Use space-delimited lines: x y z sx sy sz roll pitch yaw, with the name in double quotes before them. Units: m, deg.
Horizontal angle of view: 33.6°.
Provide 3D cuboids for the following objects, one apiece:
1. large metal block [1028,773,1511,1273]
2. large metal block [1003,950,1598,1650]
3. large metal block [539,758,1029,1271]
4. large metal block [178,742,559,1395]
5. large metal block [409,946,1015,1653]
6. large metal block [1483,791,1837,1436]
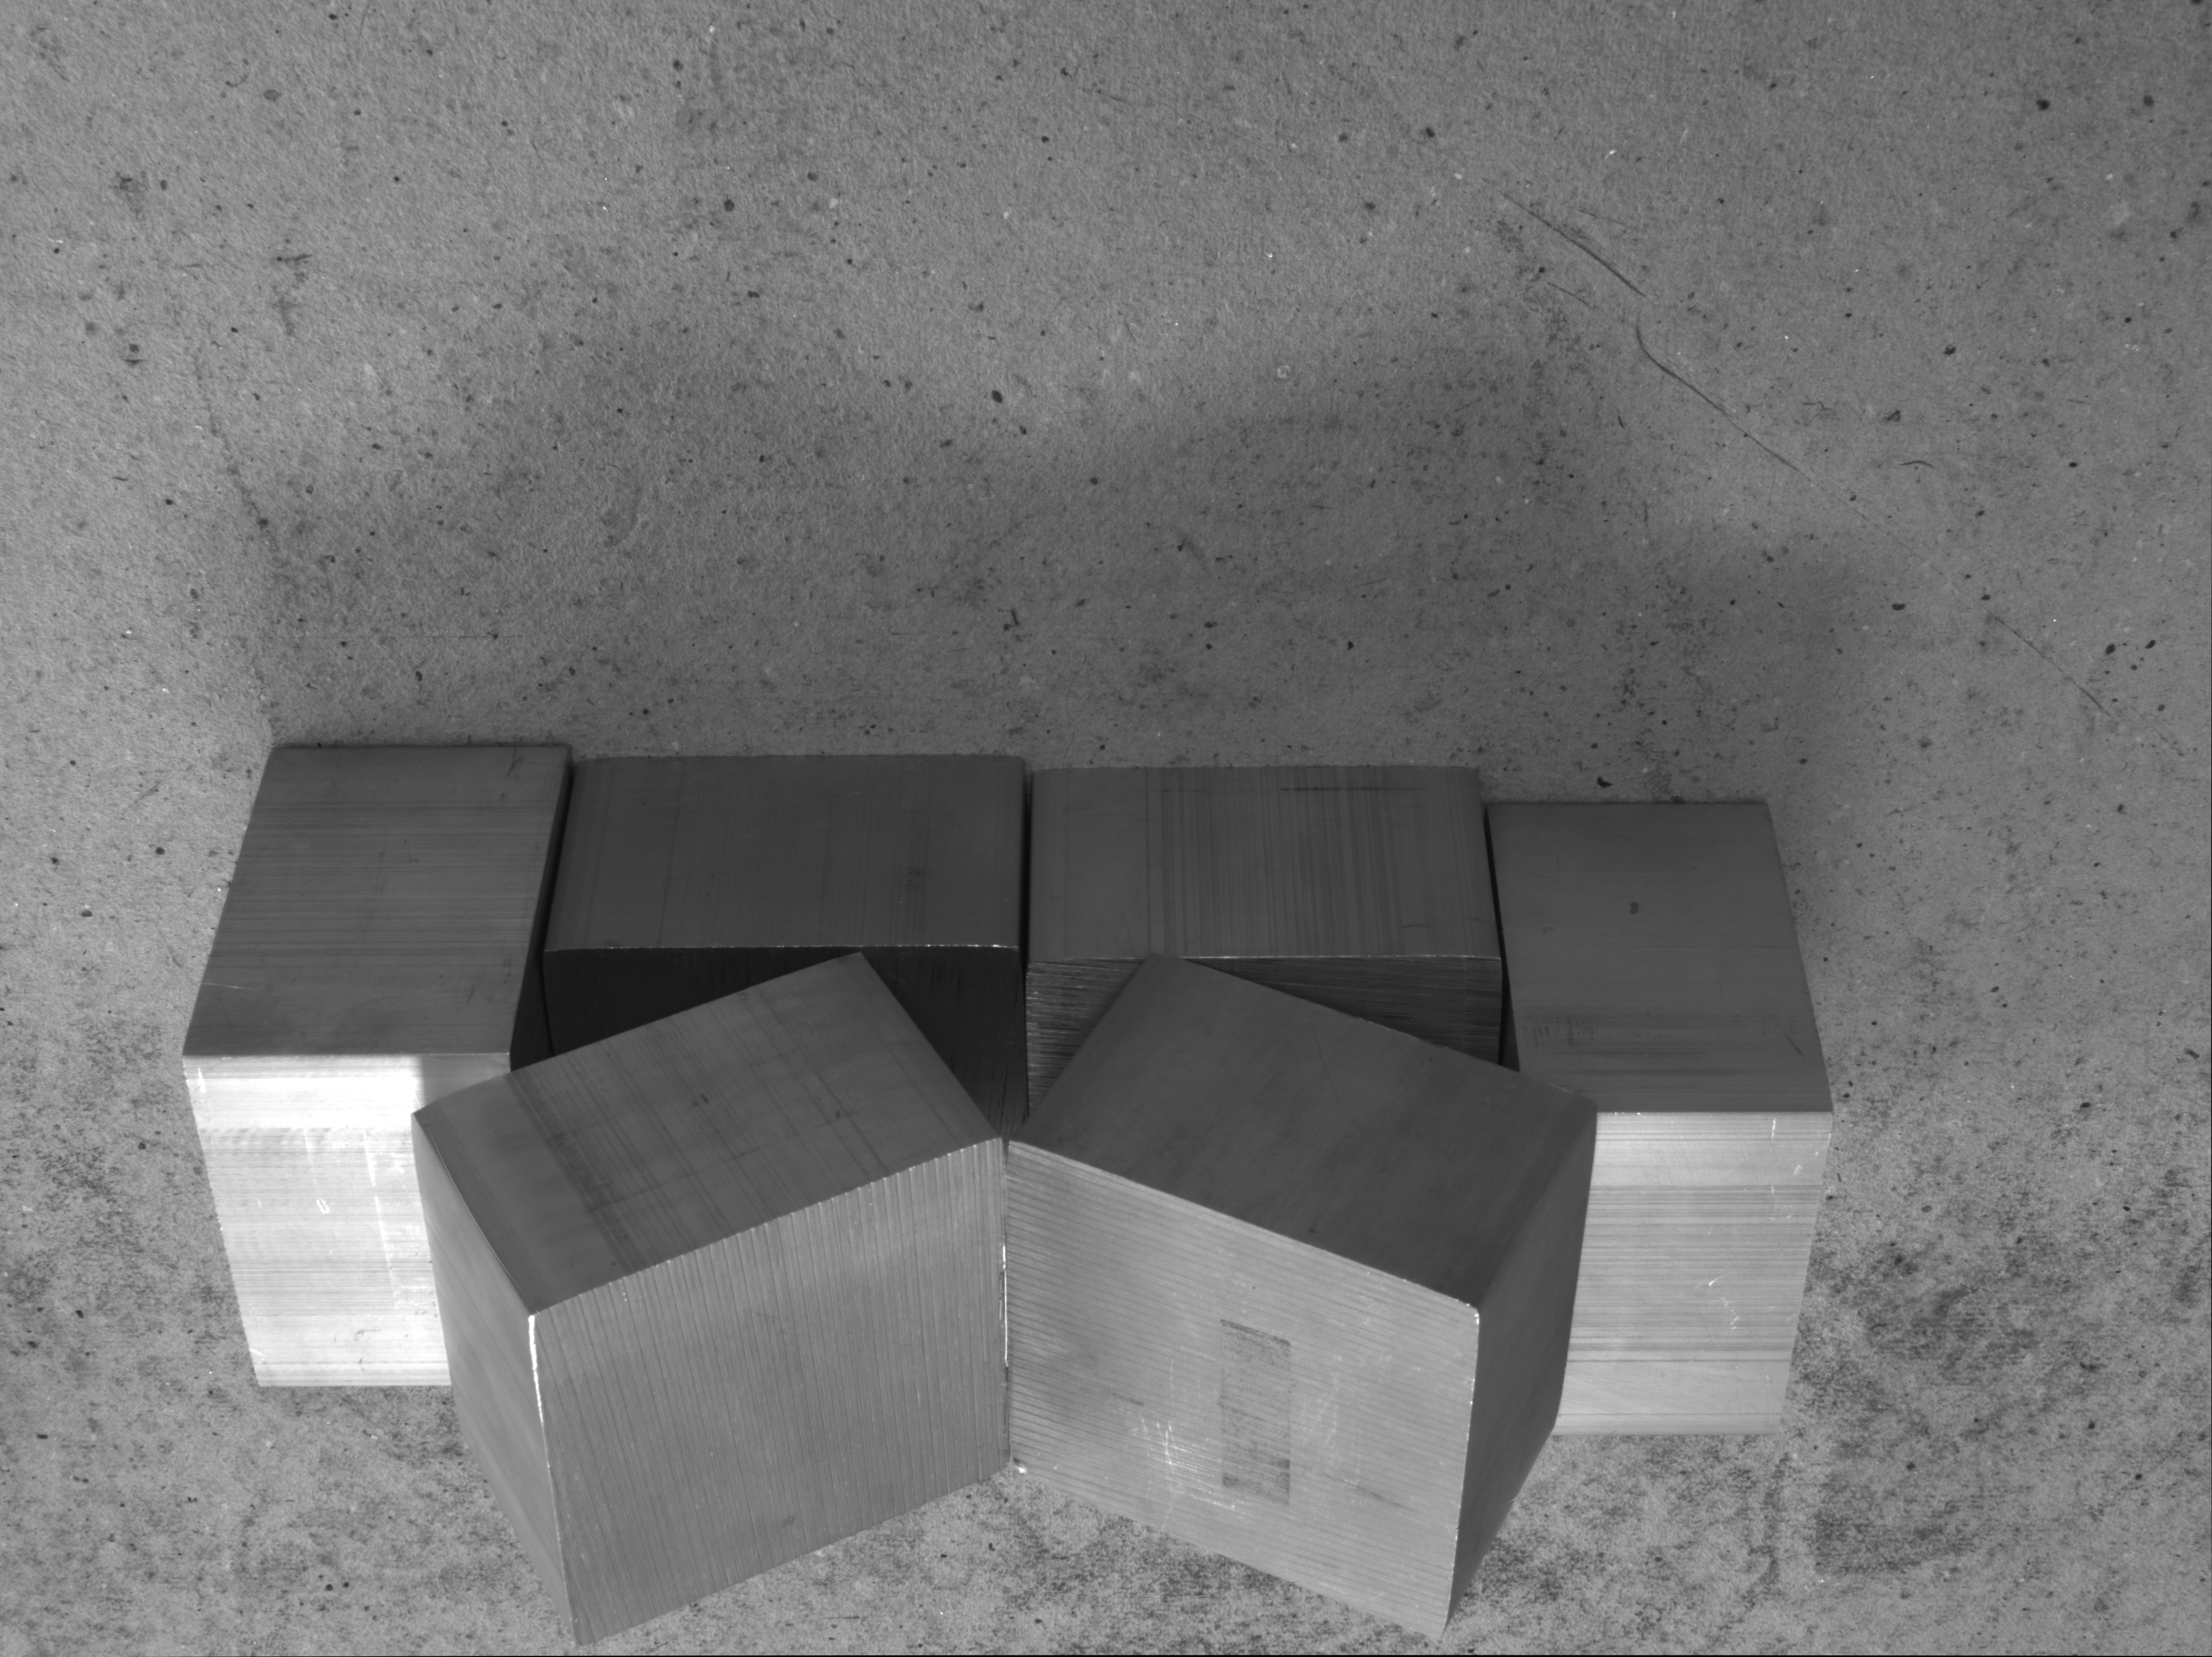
"large metal block" 0.027 0.037 0.653 0.080 0.050 0.080 0 130 0
"large metal block" 0.030 0.077 0.602 0.080 0.050 0.080 18 133 20
"large metal block" -0.054 0.034 0.651 0.080 0.050 0.080 0 130 0
"large metal block" -0.121 0.041 0.636 0.050 0.080 0.080 0 129 1
"large metal block" -0.063 0.076 0.601 0.080 0.050 0.080 -19 133 -22
"large metal block" 0.093 0.050 0.647 0.050 0.080 0.080 -1 130 0
